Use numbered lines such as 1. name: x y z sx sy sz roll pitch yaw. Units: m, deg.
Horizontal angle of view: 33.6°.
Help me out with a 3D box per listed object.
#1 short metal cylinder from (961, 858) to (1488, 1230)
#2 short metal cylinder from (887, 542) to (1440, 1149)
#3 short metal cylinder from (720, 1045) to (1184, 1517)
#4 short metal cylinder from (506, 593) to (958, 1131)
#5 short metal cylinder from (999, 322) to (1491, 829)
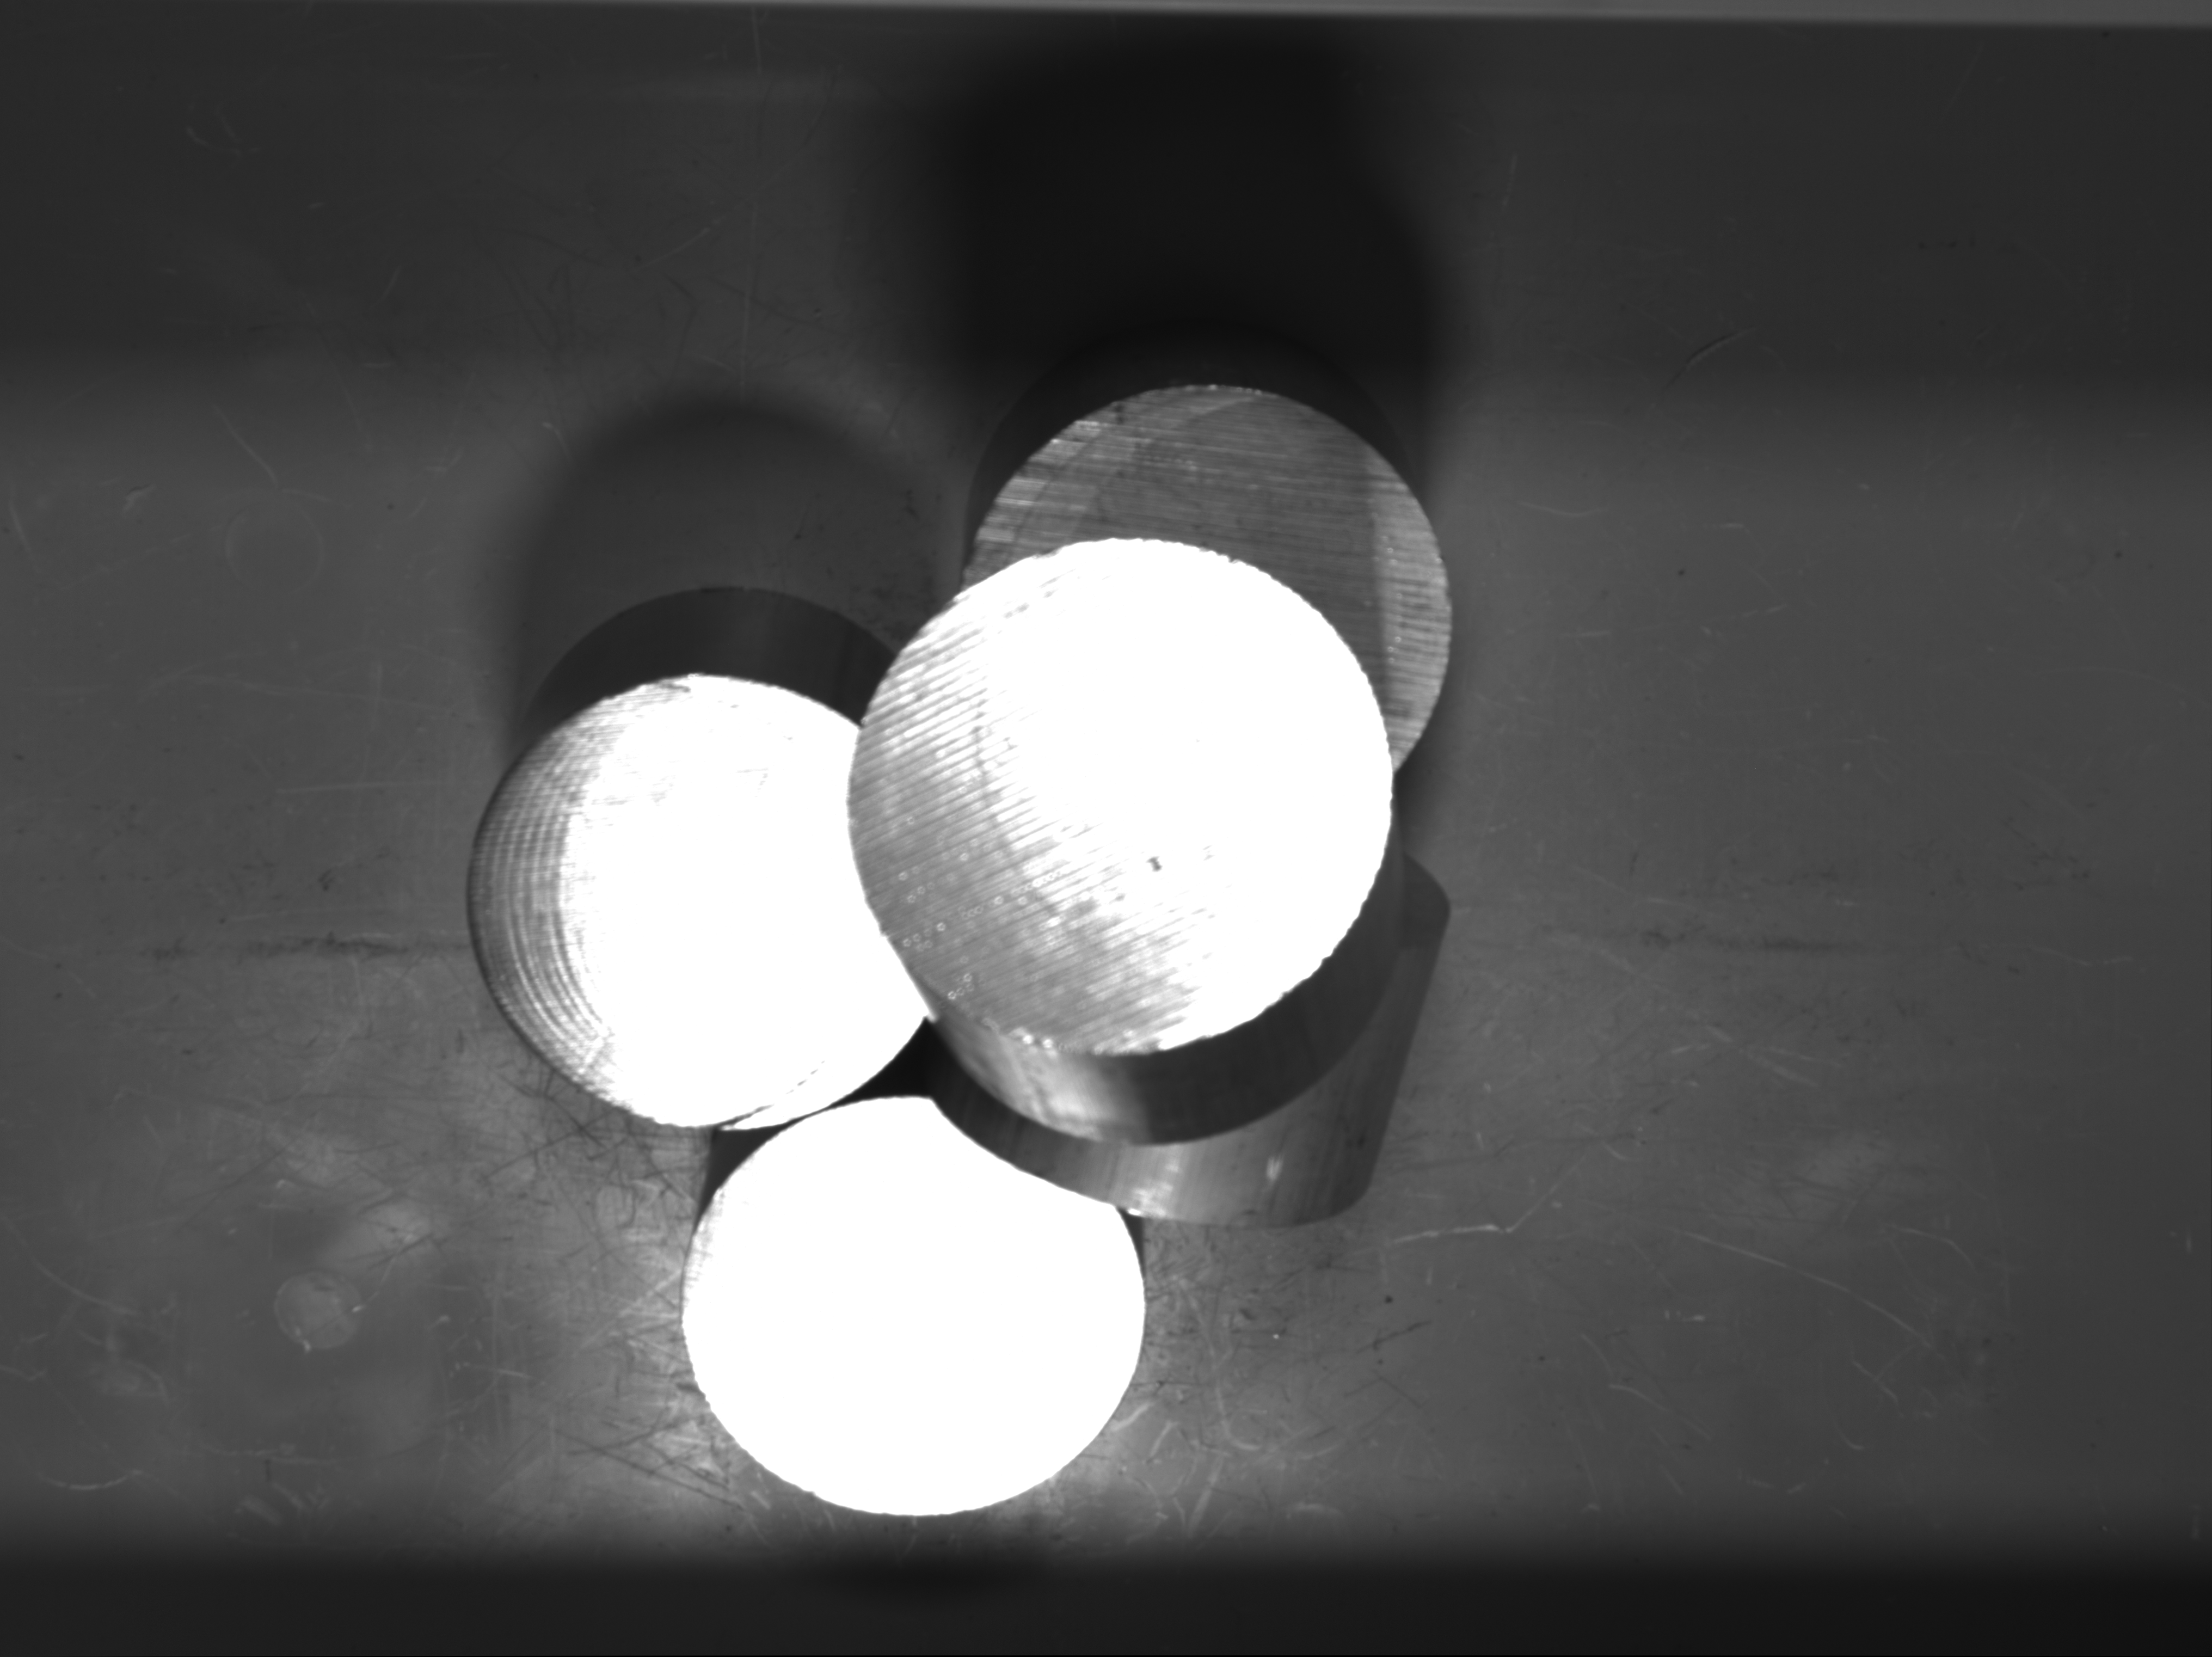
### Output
1. short metal cylinder: 0.020 0.027 0.623 0.080 0.080 0.050 13 109 -5
2. short metal cylinder: 0.011 0.003 0.555 0.080 0.050 0.080 -2 70 6
3. short metal cylinder: -0.027 0.075 0.655 0.080 0.050 0.080 0 110 -1
4. short metal cylinder: -0.059 0.005 0.629 0.080 0.050 0.080 0 110 -1
5. short metal cylinder: 0.022 -0.040 0.614 0.080 0.050 0.080 0 110 -1
